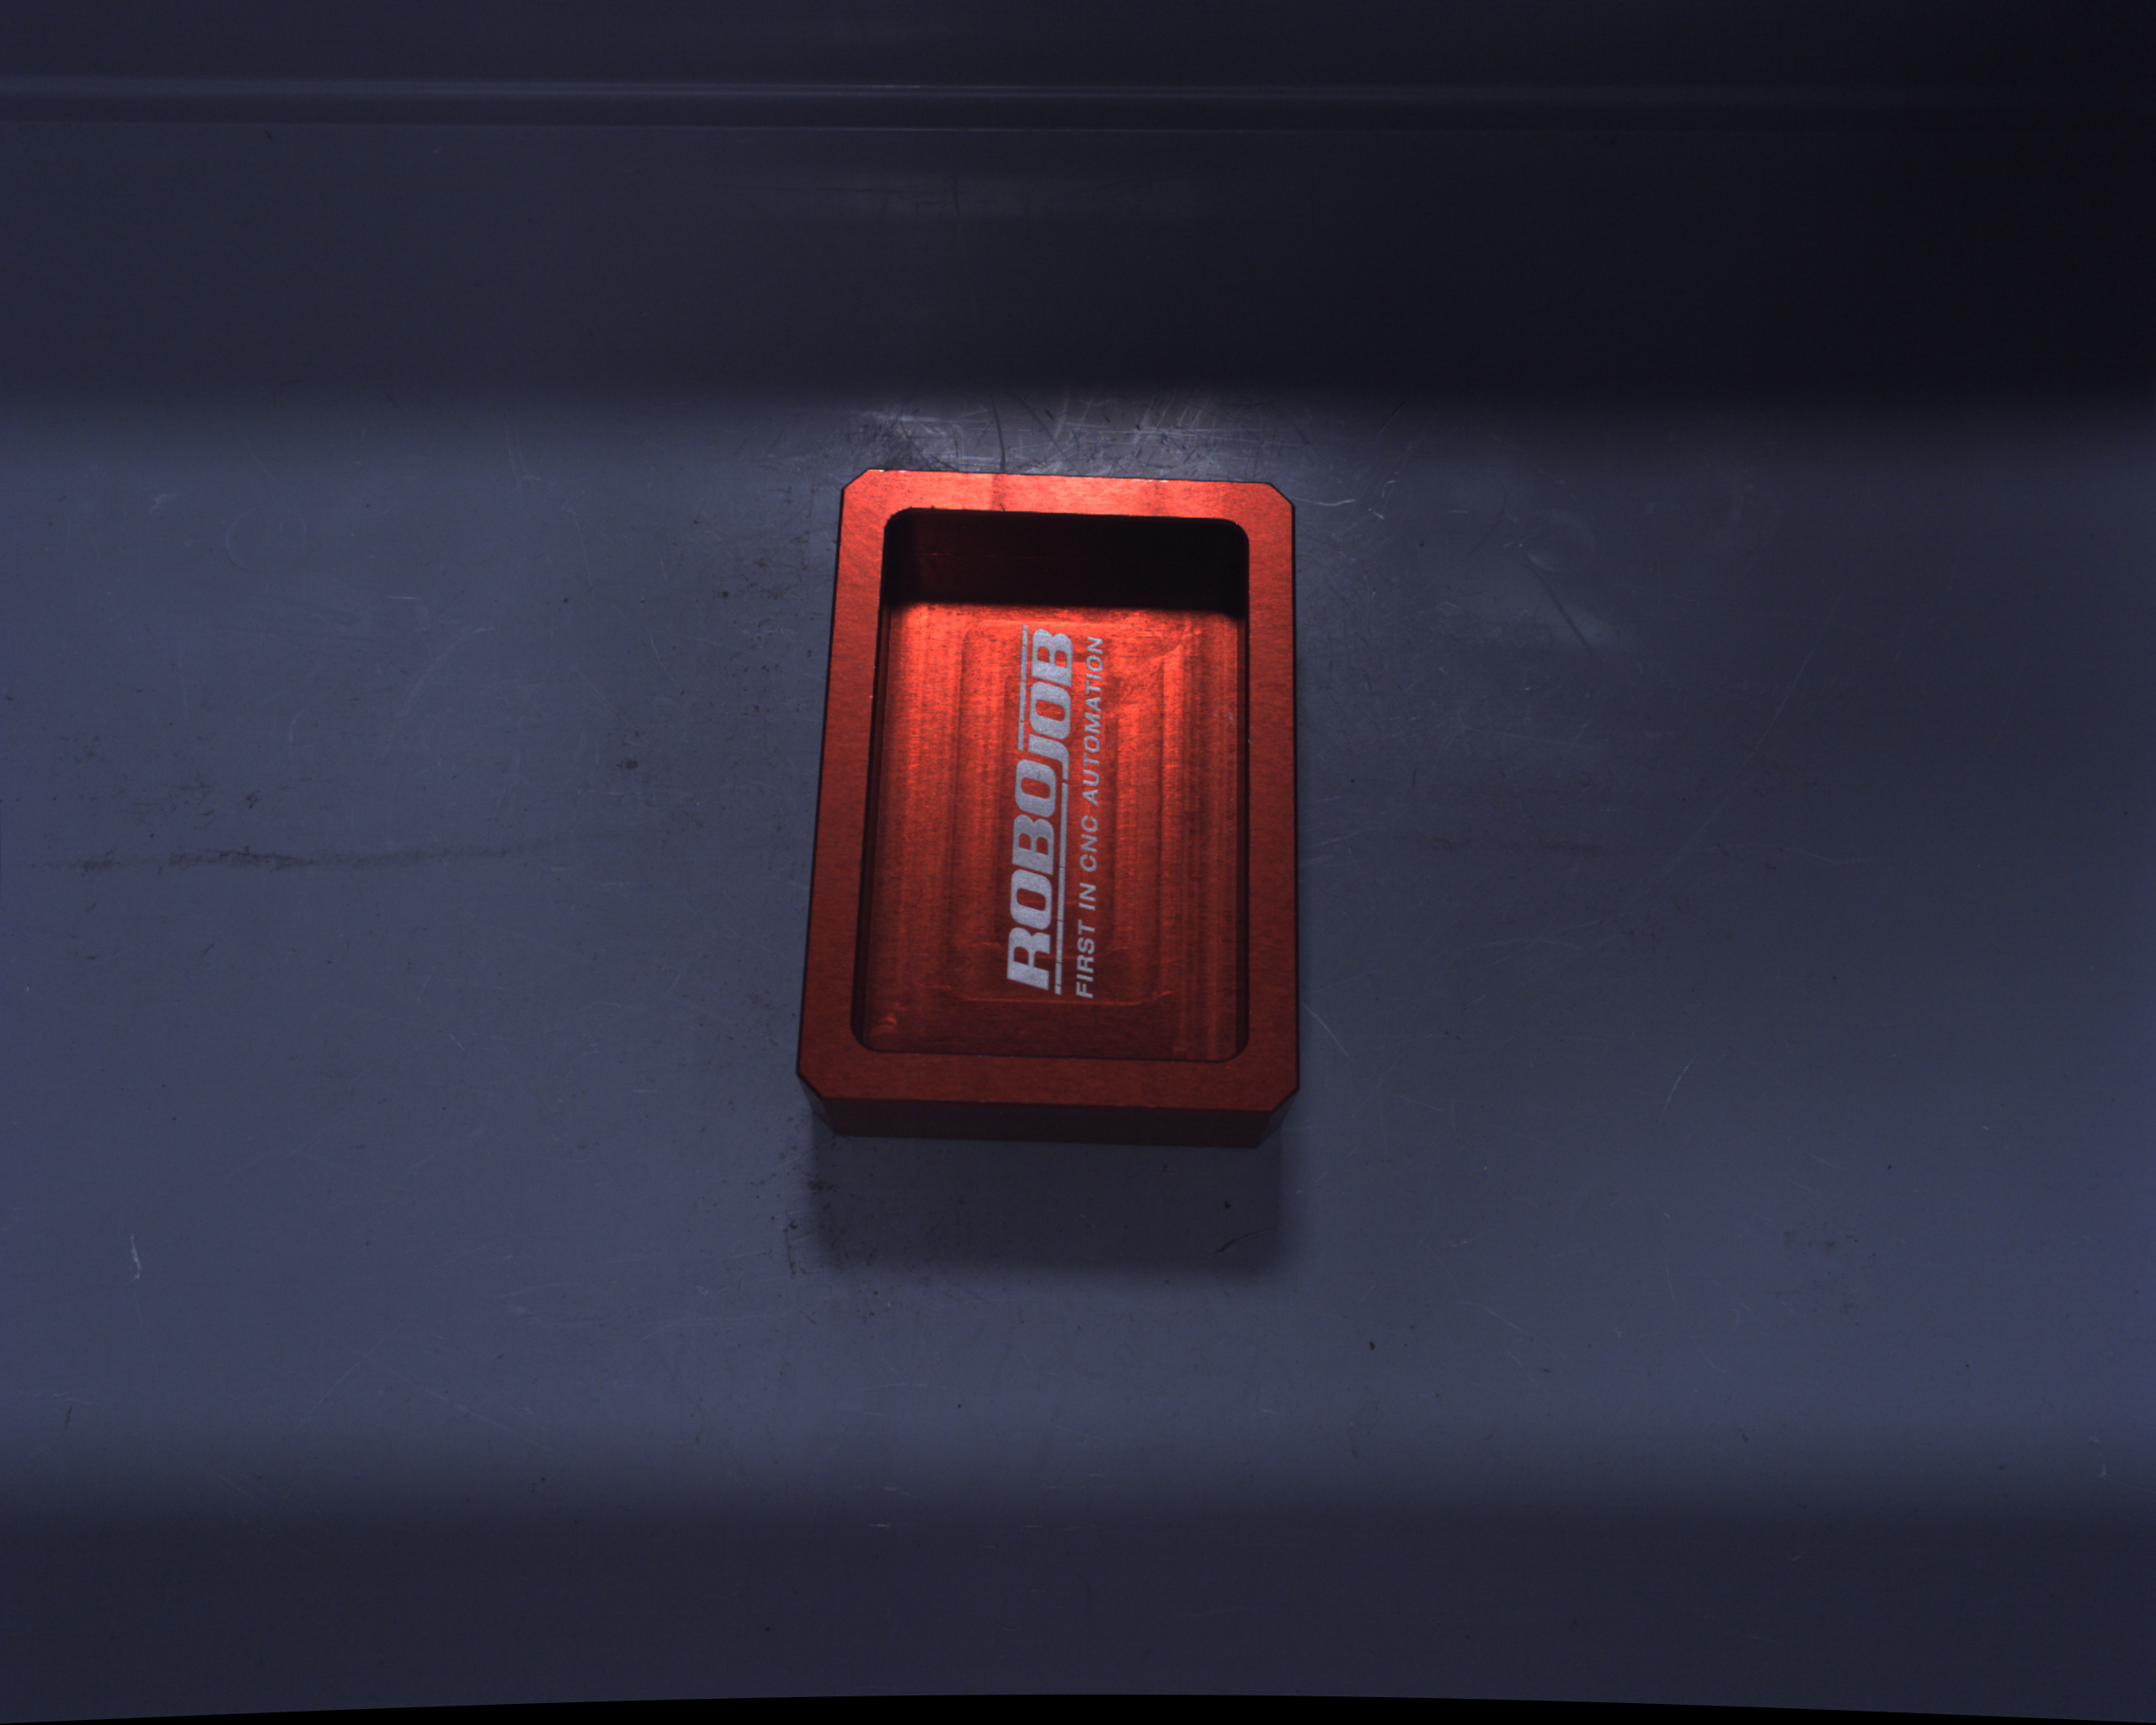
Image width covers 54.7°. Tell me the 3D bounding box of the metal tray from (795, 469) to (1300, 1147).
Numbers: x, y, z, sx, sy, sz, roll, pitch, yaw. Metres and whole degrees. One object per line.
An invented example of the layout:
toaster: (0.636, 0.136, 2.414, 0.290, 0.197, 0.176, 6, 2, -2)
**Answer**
metal tray: (-0.004, -0.012, 0.408, 0.091, 0.030, 0.130, 2, 70, 0)
